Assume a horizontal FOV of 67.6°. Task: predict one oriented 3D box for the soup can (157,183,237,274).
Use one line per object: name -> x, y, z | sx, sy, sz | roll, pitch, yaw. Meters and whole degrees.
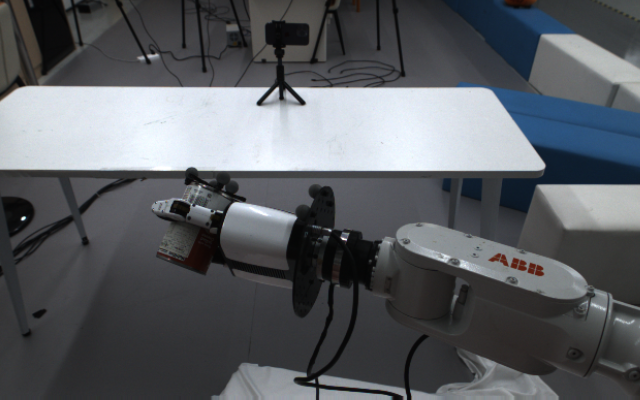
soup can -> -0.155, 0.038, 0.613 | 0.067, 0.067, 0.101 | 16, 75, 19
